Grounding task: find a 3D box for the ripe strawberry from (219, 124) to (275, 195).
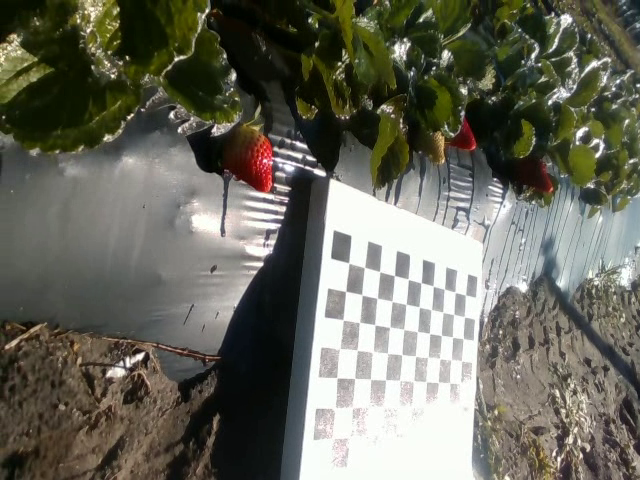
[{"bbox_3d":[-0.047,-0.054,0.421,0.040,0.053,0.039,-24,-5,42],"label":"ripe strawberry"}]
